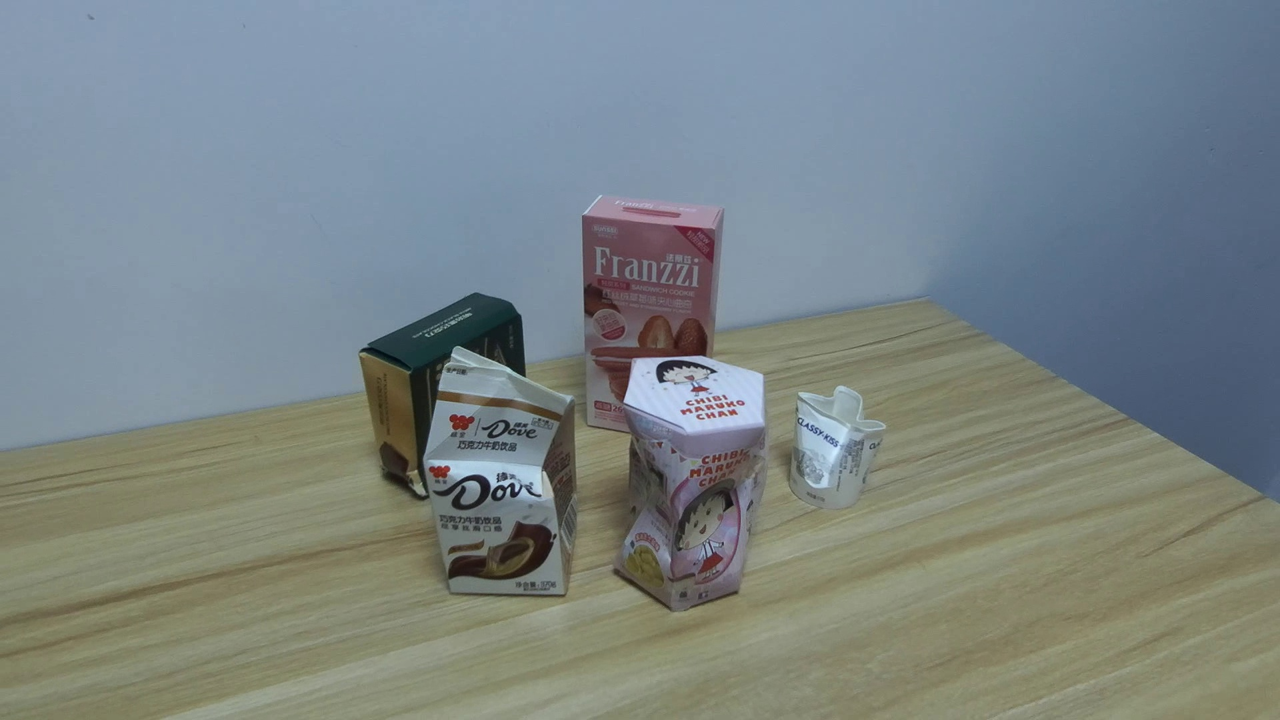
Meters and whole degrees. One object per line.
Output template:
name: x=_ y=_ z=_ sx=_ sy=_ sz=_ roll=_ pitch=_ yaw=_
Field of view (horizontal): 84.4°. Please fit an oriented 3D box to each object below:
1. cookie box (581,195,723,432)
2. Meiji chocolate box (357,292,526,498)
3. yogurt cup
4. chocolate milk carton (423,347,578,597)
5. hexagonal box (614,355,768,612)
cookie box: x=0.009 y=-0.026 z=0.544 sx=0.096 sy=0.185 sz=0.048 roll=8 pitch=31 yaw=11
Meiji chocolate box: x=-0.141 y=0.023 z=0.528 sx=0.058 sy=0.116 sz=0.123 roll=20 pitch=34 yaw=29
yogurt cup: x=0.141 y=0.063 z=0.508 sx=0.055 sy=0.072 sz=0.054 roll=-4 pitch=31 yaw=-14
chocolate milk carton: x=-0.079 y=0.061 z=0.421 sx=0.076 sy=0.156 sz=0.073 roll=2 pitch=32 yaw=0
hexagonal box: x=0.026 y=0.073 z=0.423 sx=0.093 sy=0.135 sz=0.089 roll=20 pitch=35 yaw=28
